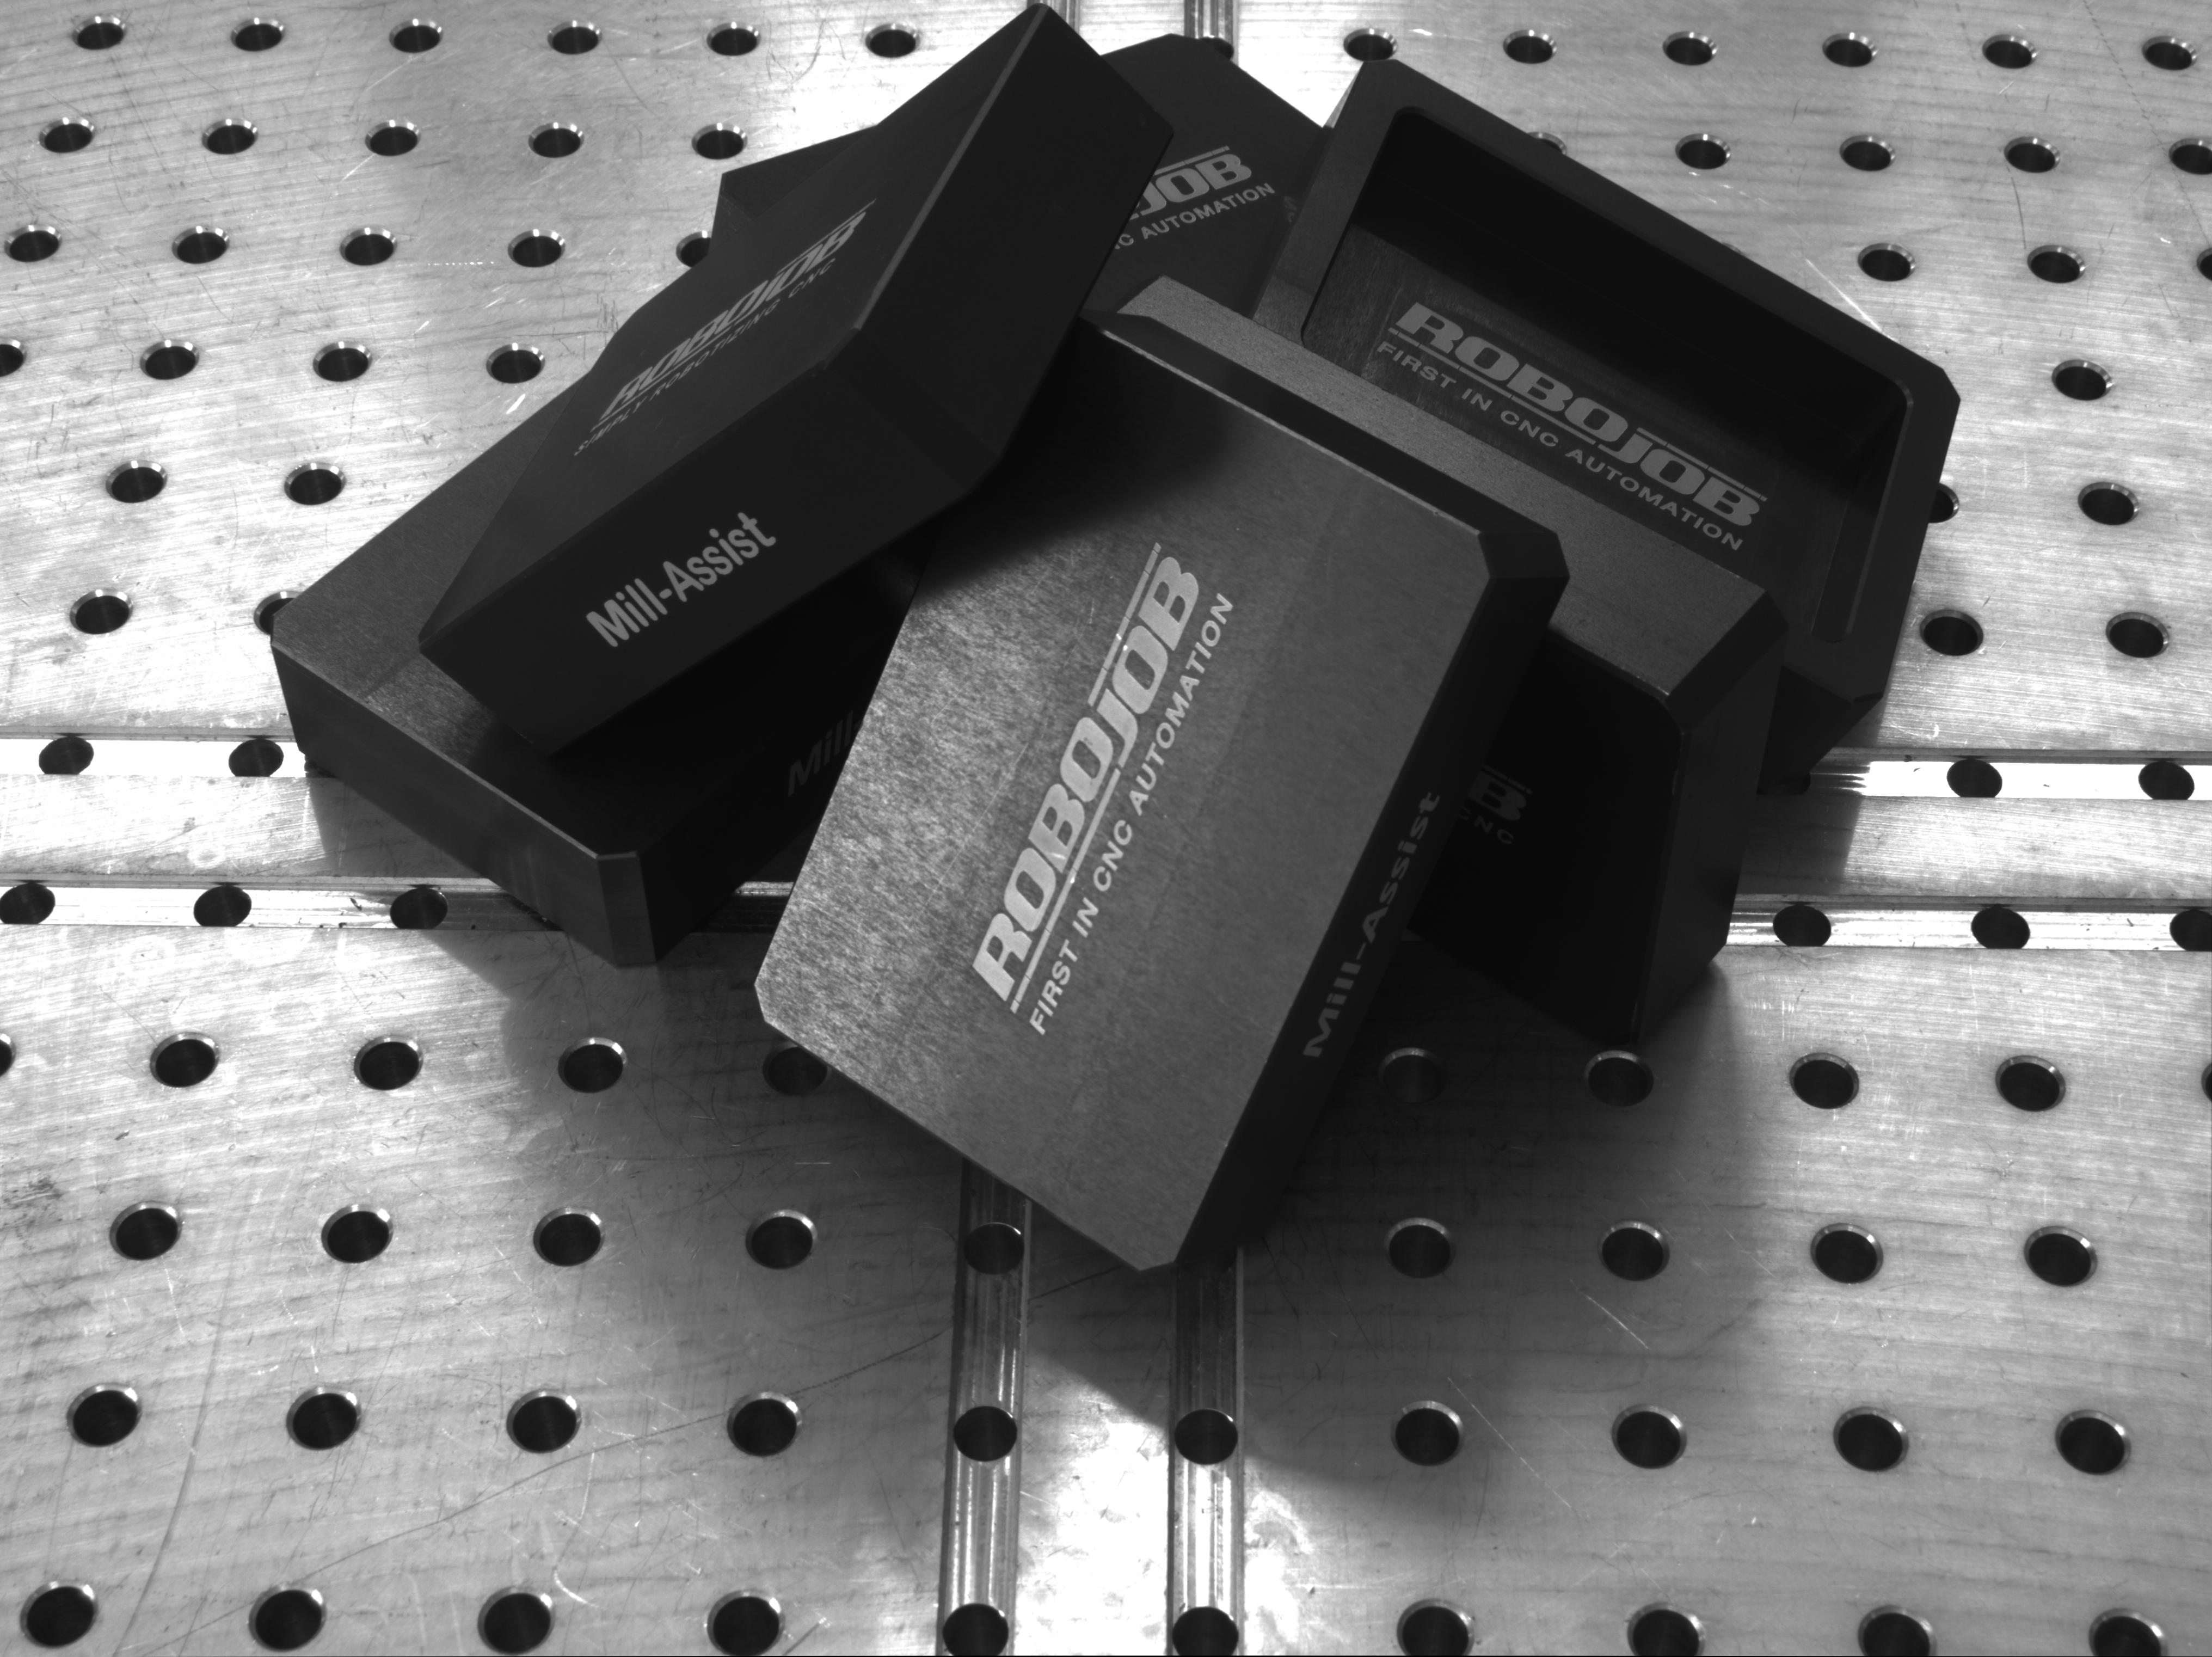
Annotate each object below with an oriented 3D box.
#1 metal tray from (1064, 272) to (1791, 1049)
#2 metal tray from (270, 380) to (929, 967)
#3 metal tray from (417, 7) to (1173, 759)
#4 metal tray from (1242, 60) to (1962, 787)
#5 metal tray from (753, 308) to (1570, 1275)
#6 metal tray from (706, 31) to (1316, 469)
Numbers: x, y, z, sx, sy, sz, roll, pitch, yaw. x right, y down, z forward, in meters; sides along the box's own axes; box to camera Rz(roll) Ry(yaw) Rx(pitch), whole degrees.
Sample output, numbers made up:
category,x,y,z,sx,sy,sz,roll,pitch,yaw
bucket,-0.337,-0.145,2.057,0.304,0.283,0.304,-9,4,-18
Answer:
category,x,y,z,sx,sy,sz,roll,pitch,yaw
metal tray,0.048,-0.028,0.626,0.130,0.090,0.030,31,56,24
metal tray,-0.076,-0.043,0.679,0.090,0.030,0.130,32,57,23
metal tray,-0.053,-0.072,0.607,0.030,0.130,0.090,41,49,-20
metal tray,0.087,-0.075,0.674,0.130,0.030,0.090,28,52,-6
metal tray,0.006,-0.007,0.589,0.090,0.130,0.030,31,18,24
metal tray,-0.002,-0.105,0.707,0.130,0.030,0.090,-27,57,-38
